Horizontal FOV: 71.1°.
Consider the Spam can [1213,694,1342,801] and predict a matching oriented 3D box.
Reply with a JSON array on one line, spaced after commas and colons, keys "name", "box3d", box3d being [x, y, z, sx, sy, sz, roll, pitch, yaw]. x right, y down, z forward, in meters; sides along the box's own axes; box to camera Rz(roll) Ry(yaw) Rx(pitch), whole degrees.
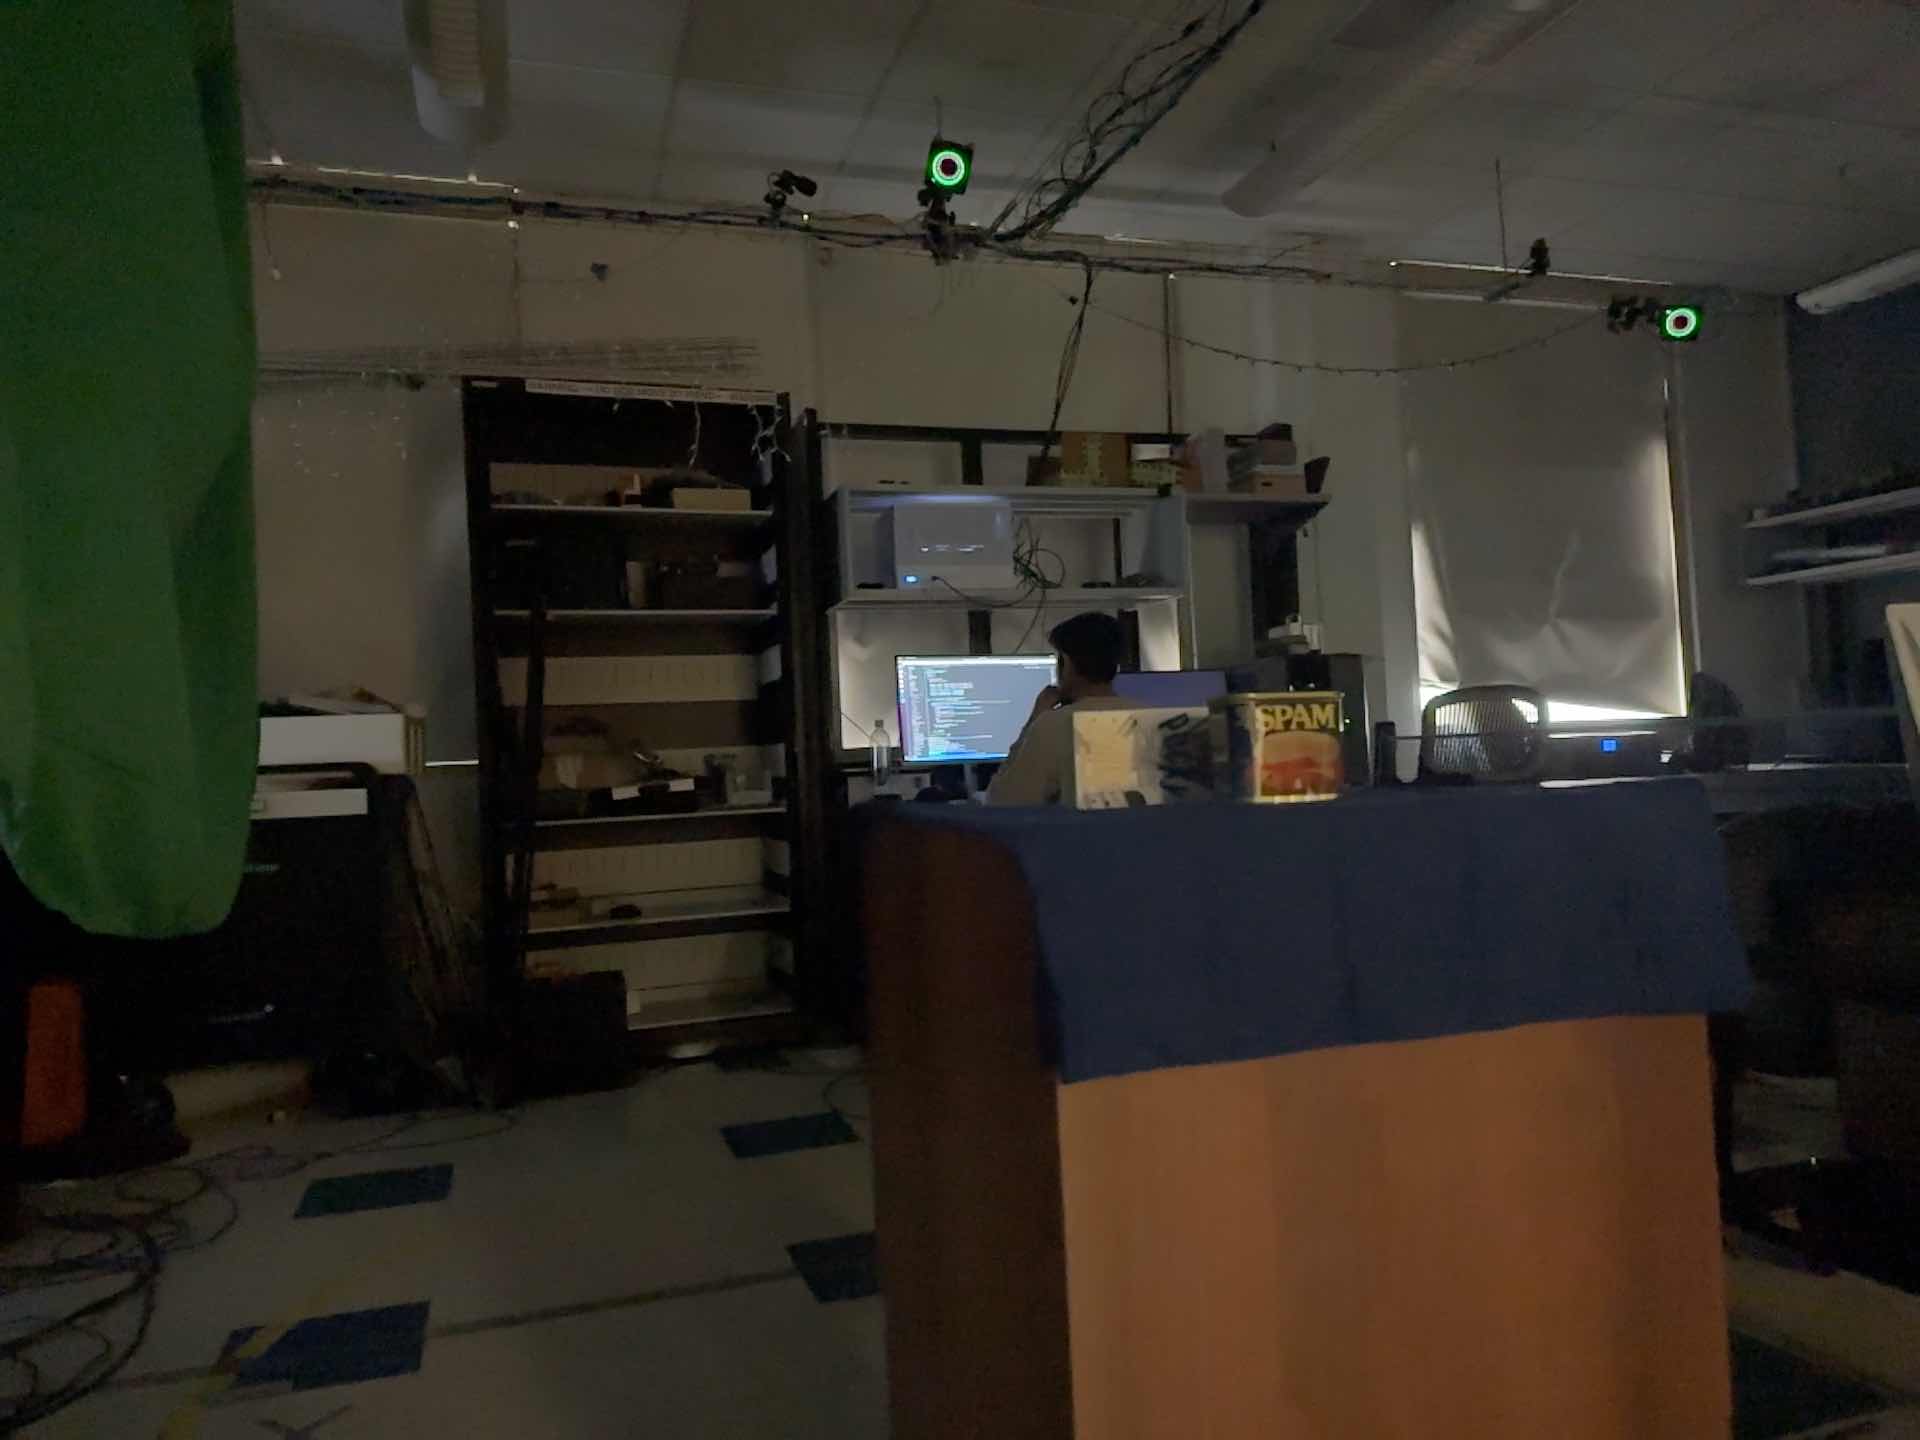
[{"name": "Spam can", "box3d": [0.263, 0.023, 1.110, 0.100, 0.083, 0.056, 0, -4, -15]}]

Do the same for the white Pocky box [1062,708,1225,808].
[{"name": "white Pocky box", "box3d": [0.169, 0.032, 1.194, 0.154, 0.084, 0.028, -2, -3, -7]}]
